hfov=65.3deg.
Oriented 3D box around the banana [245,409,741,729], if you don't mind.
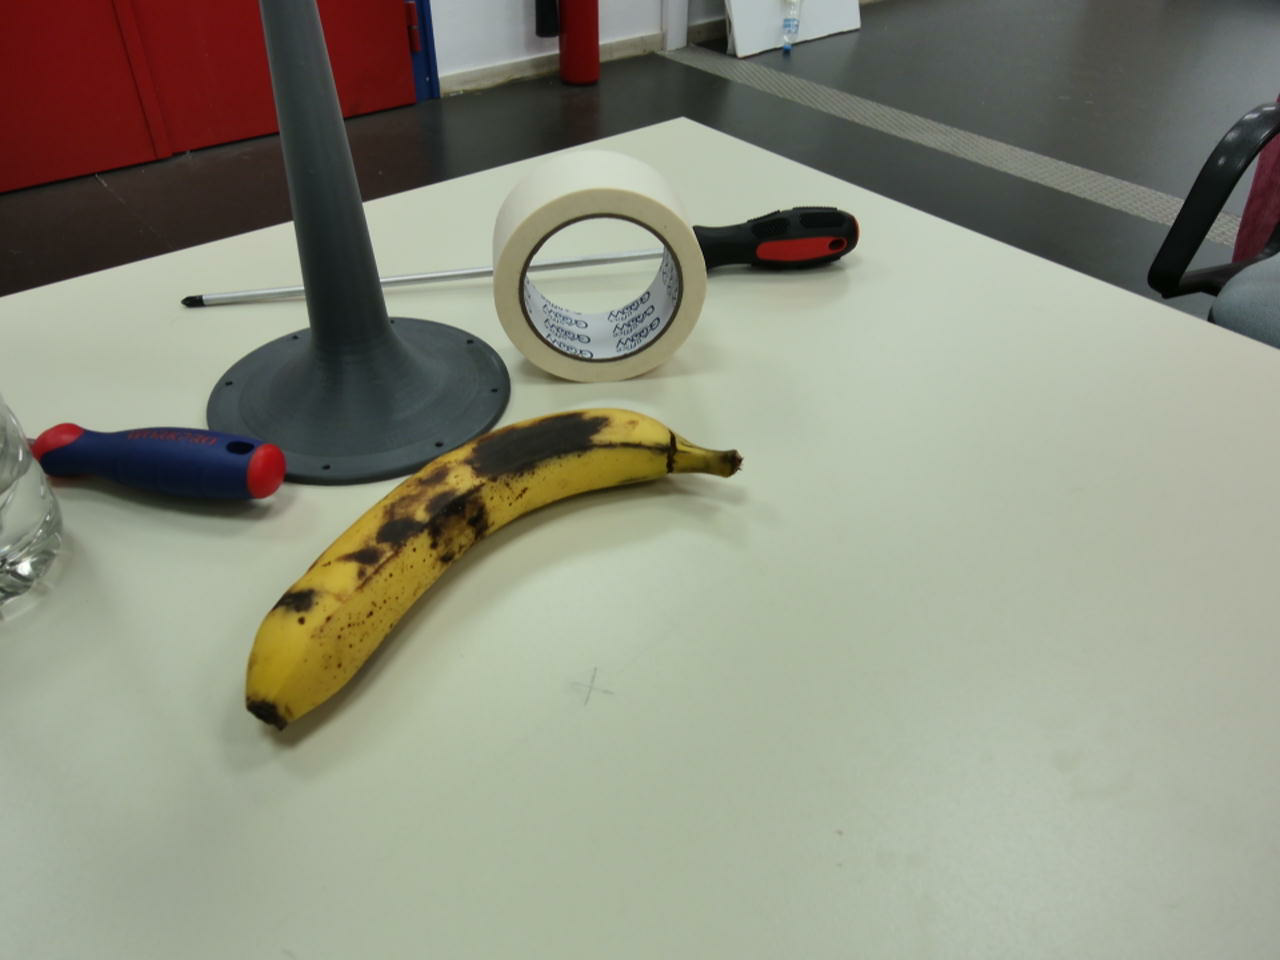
[{"bbox_3d":[-0.064,0.016,0.403,0.222,0.037,0.084,-26,44,-31],"label":"banana"}]
